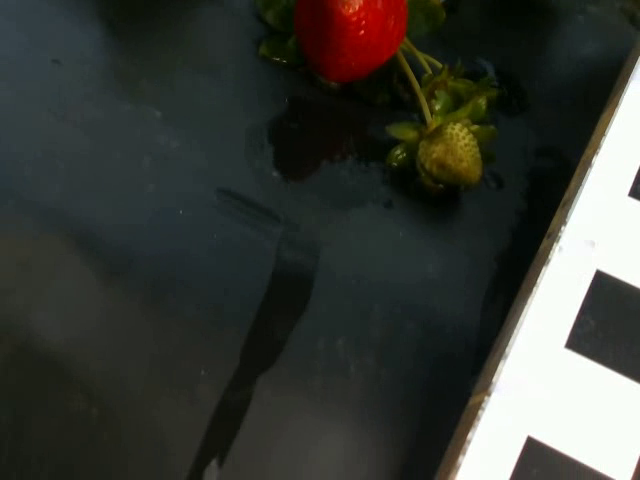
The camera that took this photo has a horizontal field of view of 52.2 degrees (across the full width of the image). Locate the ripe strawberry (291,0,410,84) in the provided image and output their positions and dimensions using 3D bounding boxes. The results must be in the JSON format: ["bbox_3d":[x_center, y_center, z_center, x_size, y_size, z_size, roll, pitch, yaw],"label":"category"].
[{"bbox_3d":[0.011,-0.078,0.219,0.043,0.052,0.057,0,9,7],"label":"ripe strawberry"}]
